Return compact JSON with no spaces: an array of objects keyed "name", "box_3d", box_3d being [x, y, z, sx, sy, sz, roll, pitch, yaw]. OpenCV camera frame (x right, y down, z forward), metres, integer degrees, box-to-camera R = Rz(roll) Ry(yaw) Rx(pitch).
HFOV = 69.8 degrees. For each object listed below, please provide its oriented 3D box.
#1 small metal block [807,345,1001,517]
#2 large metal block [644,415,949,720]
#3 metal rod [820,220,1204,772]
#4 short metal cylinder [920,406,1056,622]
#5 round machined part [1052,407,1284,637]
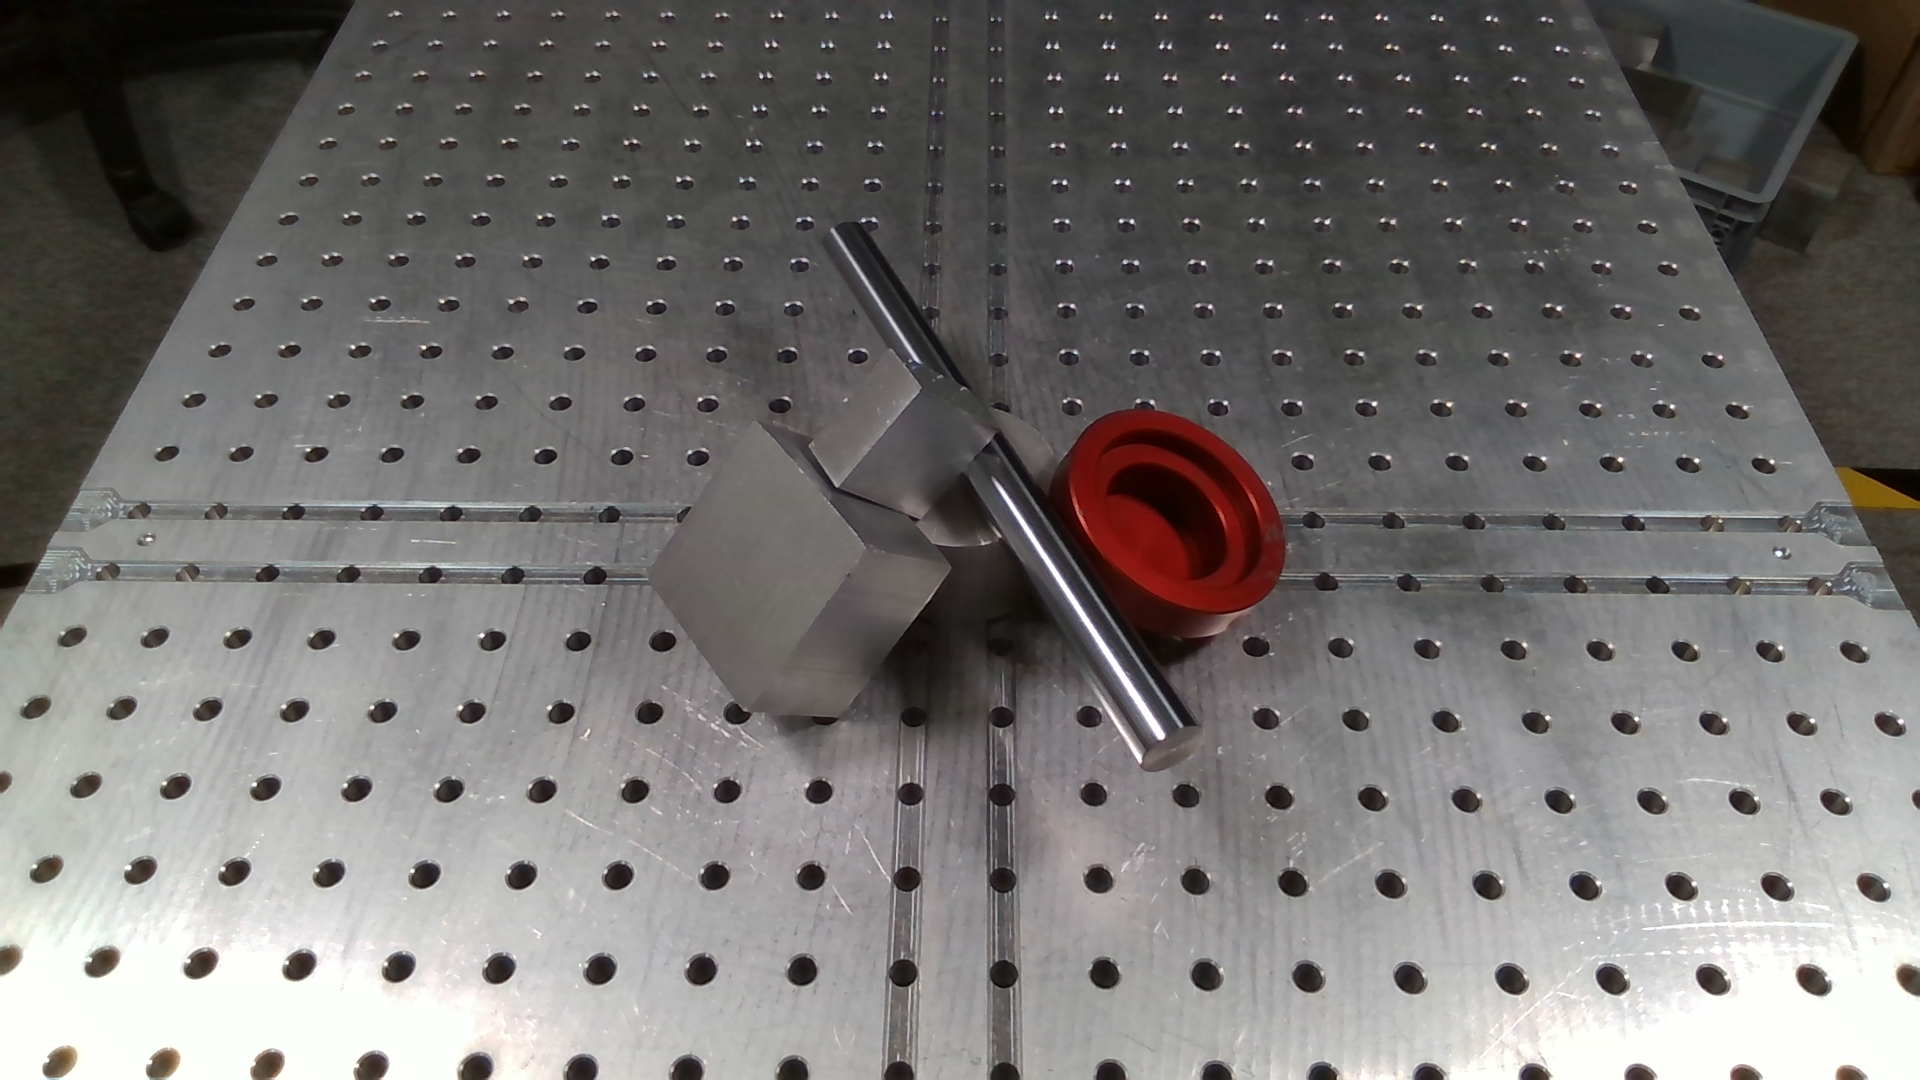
[{"name":"small metal block","box_3d":[-0.021,-0.040,0.528,0.050,0.050,0.025,-48,54,16]},{"name":"large metal block","box_3d":[-0.065,0.012,0.534,0.080,0.050,0.080,-53,57,16]},{"name":"metal rod","box_3d":[0.009,-0.034,0.552,0.025,0.025,0.299,-19,53,-15]},{"name":"short metal cylinder","box_3d":[0.000,-0.012,0.583,0.080,0.050,0.080,0,50,0]},{"name":"round machined part","box_3d":[0.080,-0.003,0.566,0.098,0.042,0.098,13,54,-18]}]
